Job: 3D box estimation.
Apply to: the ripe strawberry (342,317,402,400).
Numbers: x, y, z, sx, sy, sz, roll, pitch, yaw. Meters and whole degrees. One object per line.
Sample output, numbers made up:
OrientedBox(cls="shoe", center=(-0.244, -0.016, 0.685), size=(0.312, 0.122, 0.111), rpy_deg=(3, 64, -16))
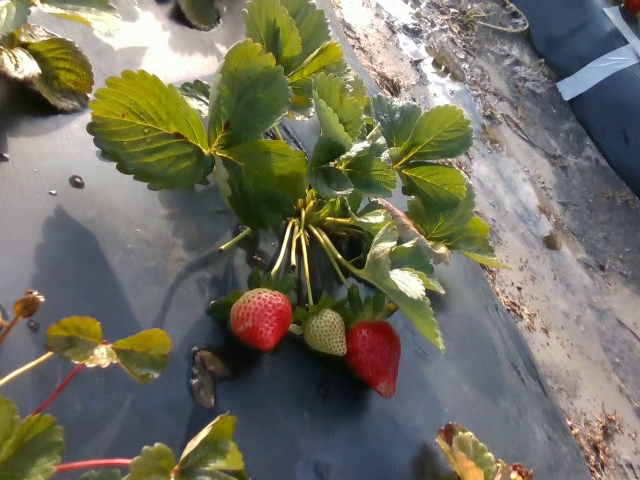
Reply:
OrientedBox(cls="ripe strawberry", center=(0.042, 0.087, 0.443), size=(0.048, 0.065, 0.050), rpy_deg=(-10, -25, 2))
